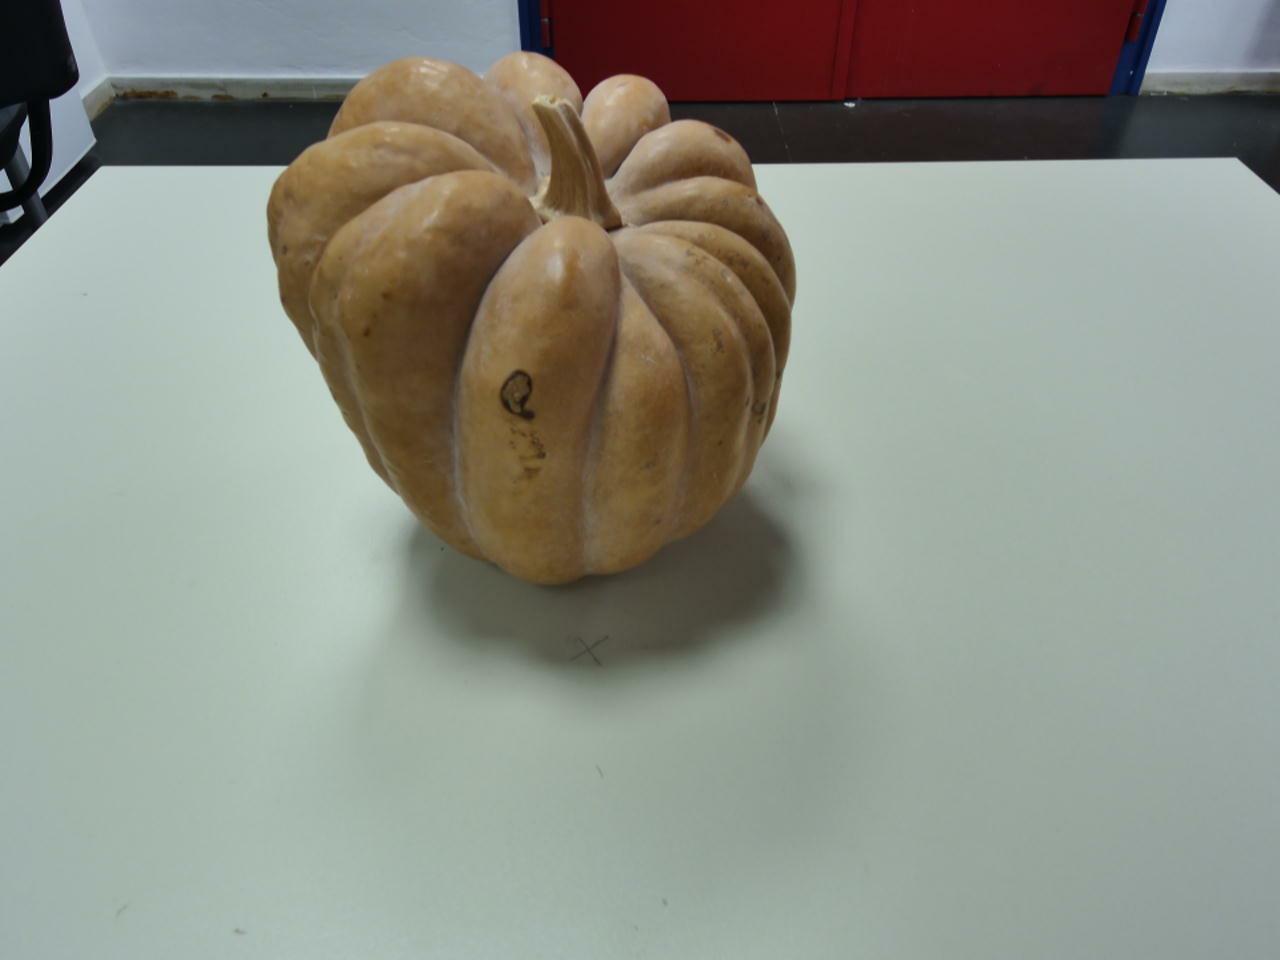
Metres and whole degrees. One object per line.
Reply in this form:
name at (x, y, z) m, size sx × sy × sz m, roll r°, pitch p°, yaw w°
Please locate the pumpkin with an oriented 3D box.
pumpkin at (-0.035, -0.060, 0.380) m, size 0.199 × 0.177 × 0.198 m, roll 0°, pitch 39°, yaw 0°
